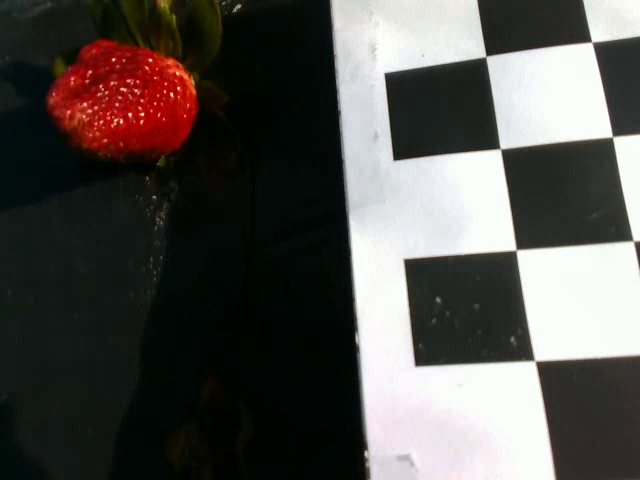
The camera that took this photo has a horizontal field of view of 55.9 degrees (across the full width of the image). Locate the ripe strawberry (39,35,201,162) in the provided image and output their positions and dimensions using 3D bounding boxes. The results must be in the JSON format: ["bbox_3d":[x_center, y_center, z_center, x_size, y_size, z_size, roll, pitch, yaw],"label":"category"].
[{"bbox_3d":[-0.020,-0.014,0.059,0.015,0.015,0.022,3,23,7],"label":"ripe strawberry"}]
